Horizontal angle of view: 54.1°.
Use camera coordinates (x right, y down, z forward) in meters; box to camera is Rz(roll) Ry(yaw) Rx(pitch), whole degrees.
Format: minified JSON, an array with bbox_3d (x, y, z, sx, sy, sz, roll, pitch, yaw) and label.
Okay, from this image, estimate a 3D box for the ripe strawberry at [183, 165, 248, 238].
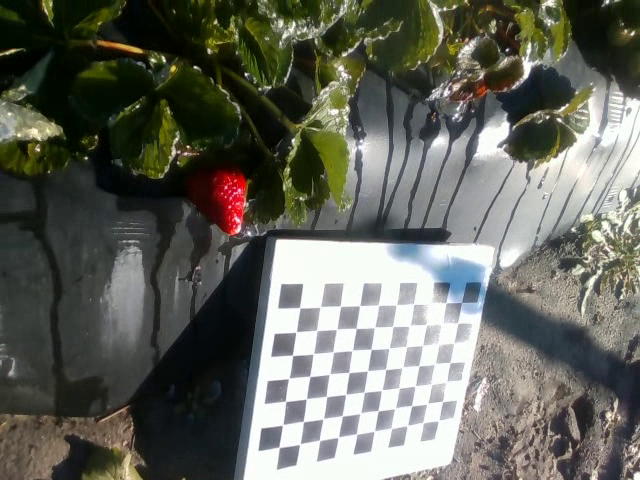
[{"bbox_3d":[-0.062,-0.025,0.404,0.041,0.053,0.047,-5,-22,-31],"label":"ripe strawberry"}]
